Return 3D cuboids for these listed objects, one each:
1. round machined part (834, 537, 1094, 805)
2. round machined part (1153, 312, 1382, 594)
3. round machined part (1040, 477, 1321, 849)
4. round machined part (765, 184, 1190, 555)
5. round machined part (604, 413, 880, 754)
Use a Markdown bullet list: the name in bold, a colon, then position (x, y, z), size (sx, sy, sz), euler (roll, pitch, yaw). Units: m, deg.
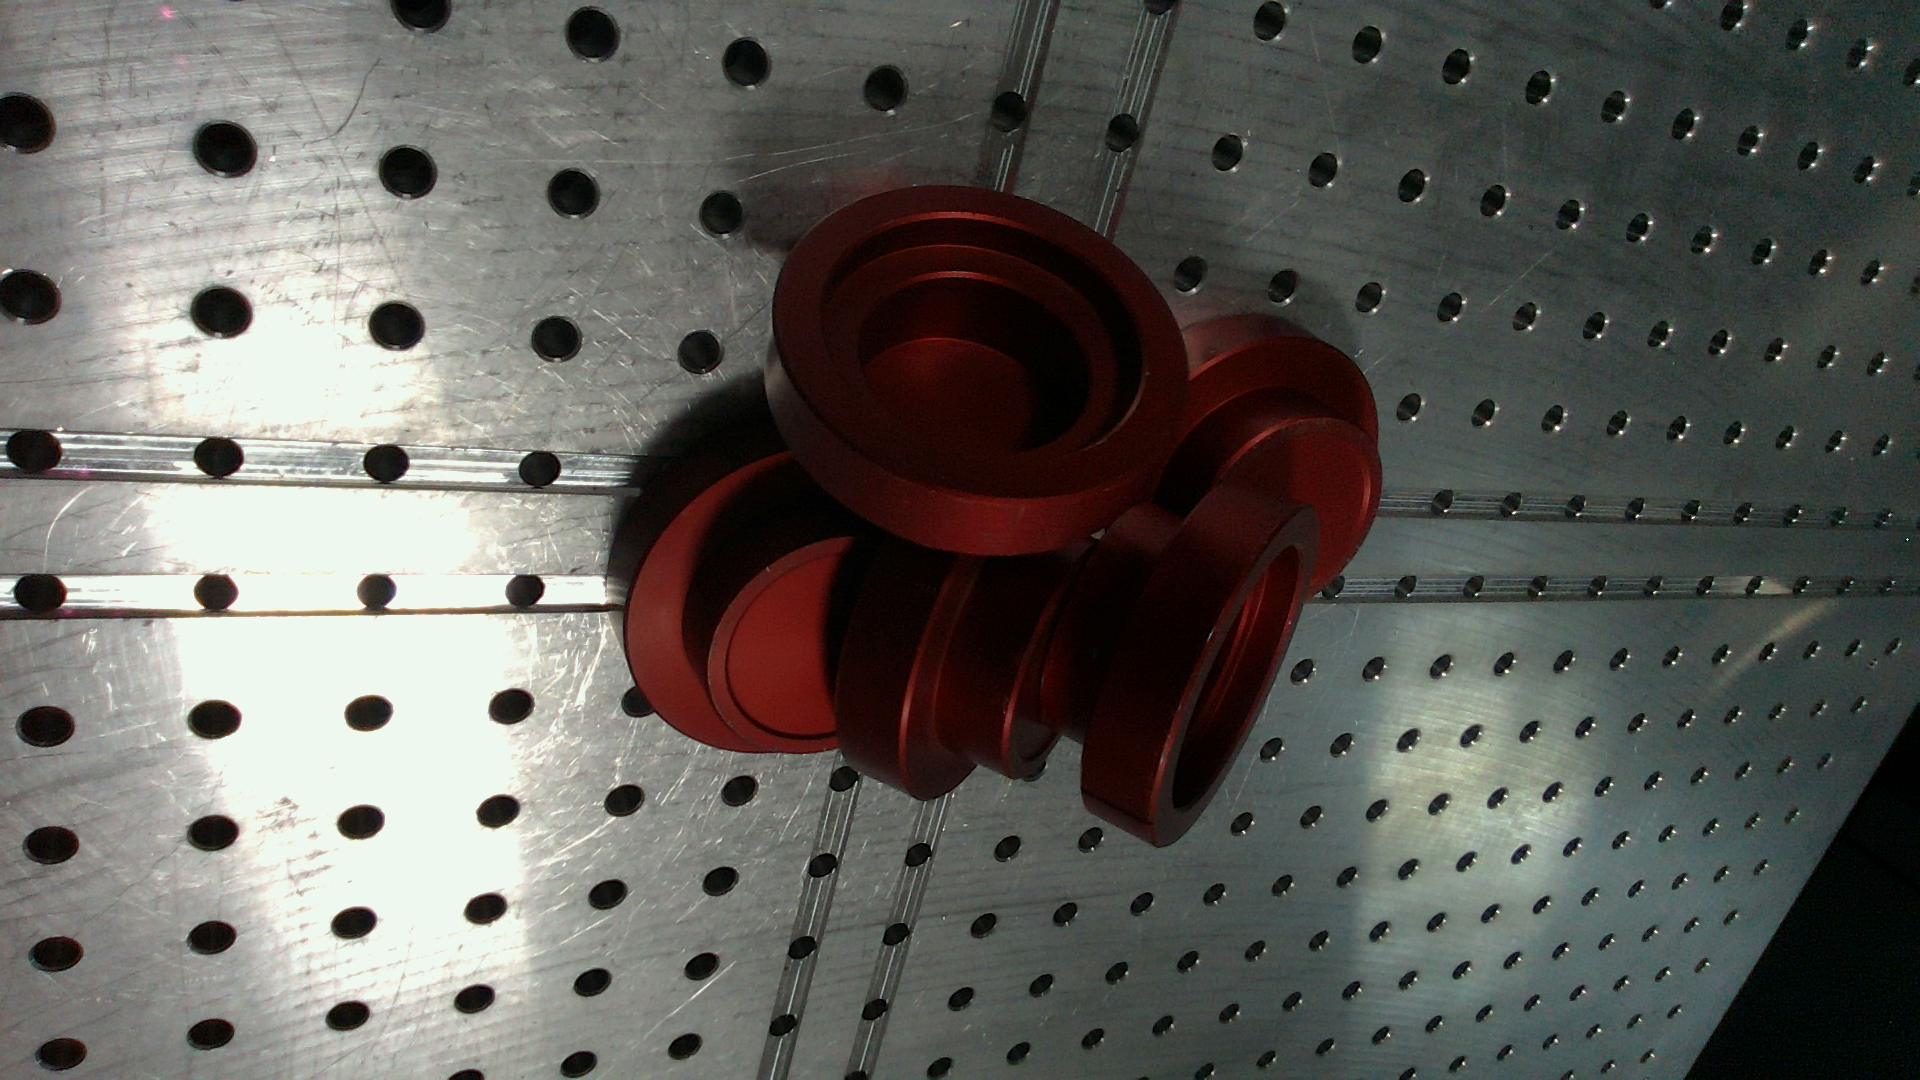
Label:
- **round machined part**: position (0.010, 0.026, 0.372), size (0.098, 0.042, 0.098), euler (-51, 152, -40)
- **round machined part**: position (0.088, -0.016, 0.419), size (0.098, 0.042, 0.098), euler (-14, 124, -21)
- **round machined part**: position (0.056, 0.029, 0.367), size (0.098, 0.042, 0.098), euler (-46, 150, -37)
- **round machined part**: position (0.002, -0.036, 0.330), size (0.098, 0.098, 0.042), euler (-12, 149, -22)
- **round machined part**: position (-0.042, 0.018, 0.370), size (0.098, 0.042, 0.098), euler (-14, 124, -21)
